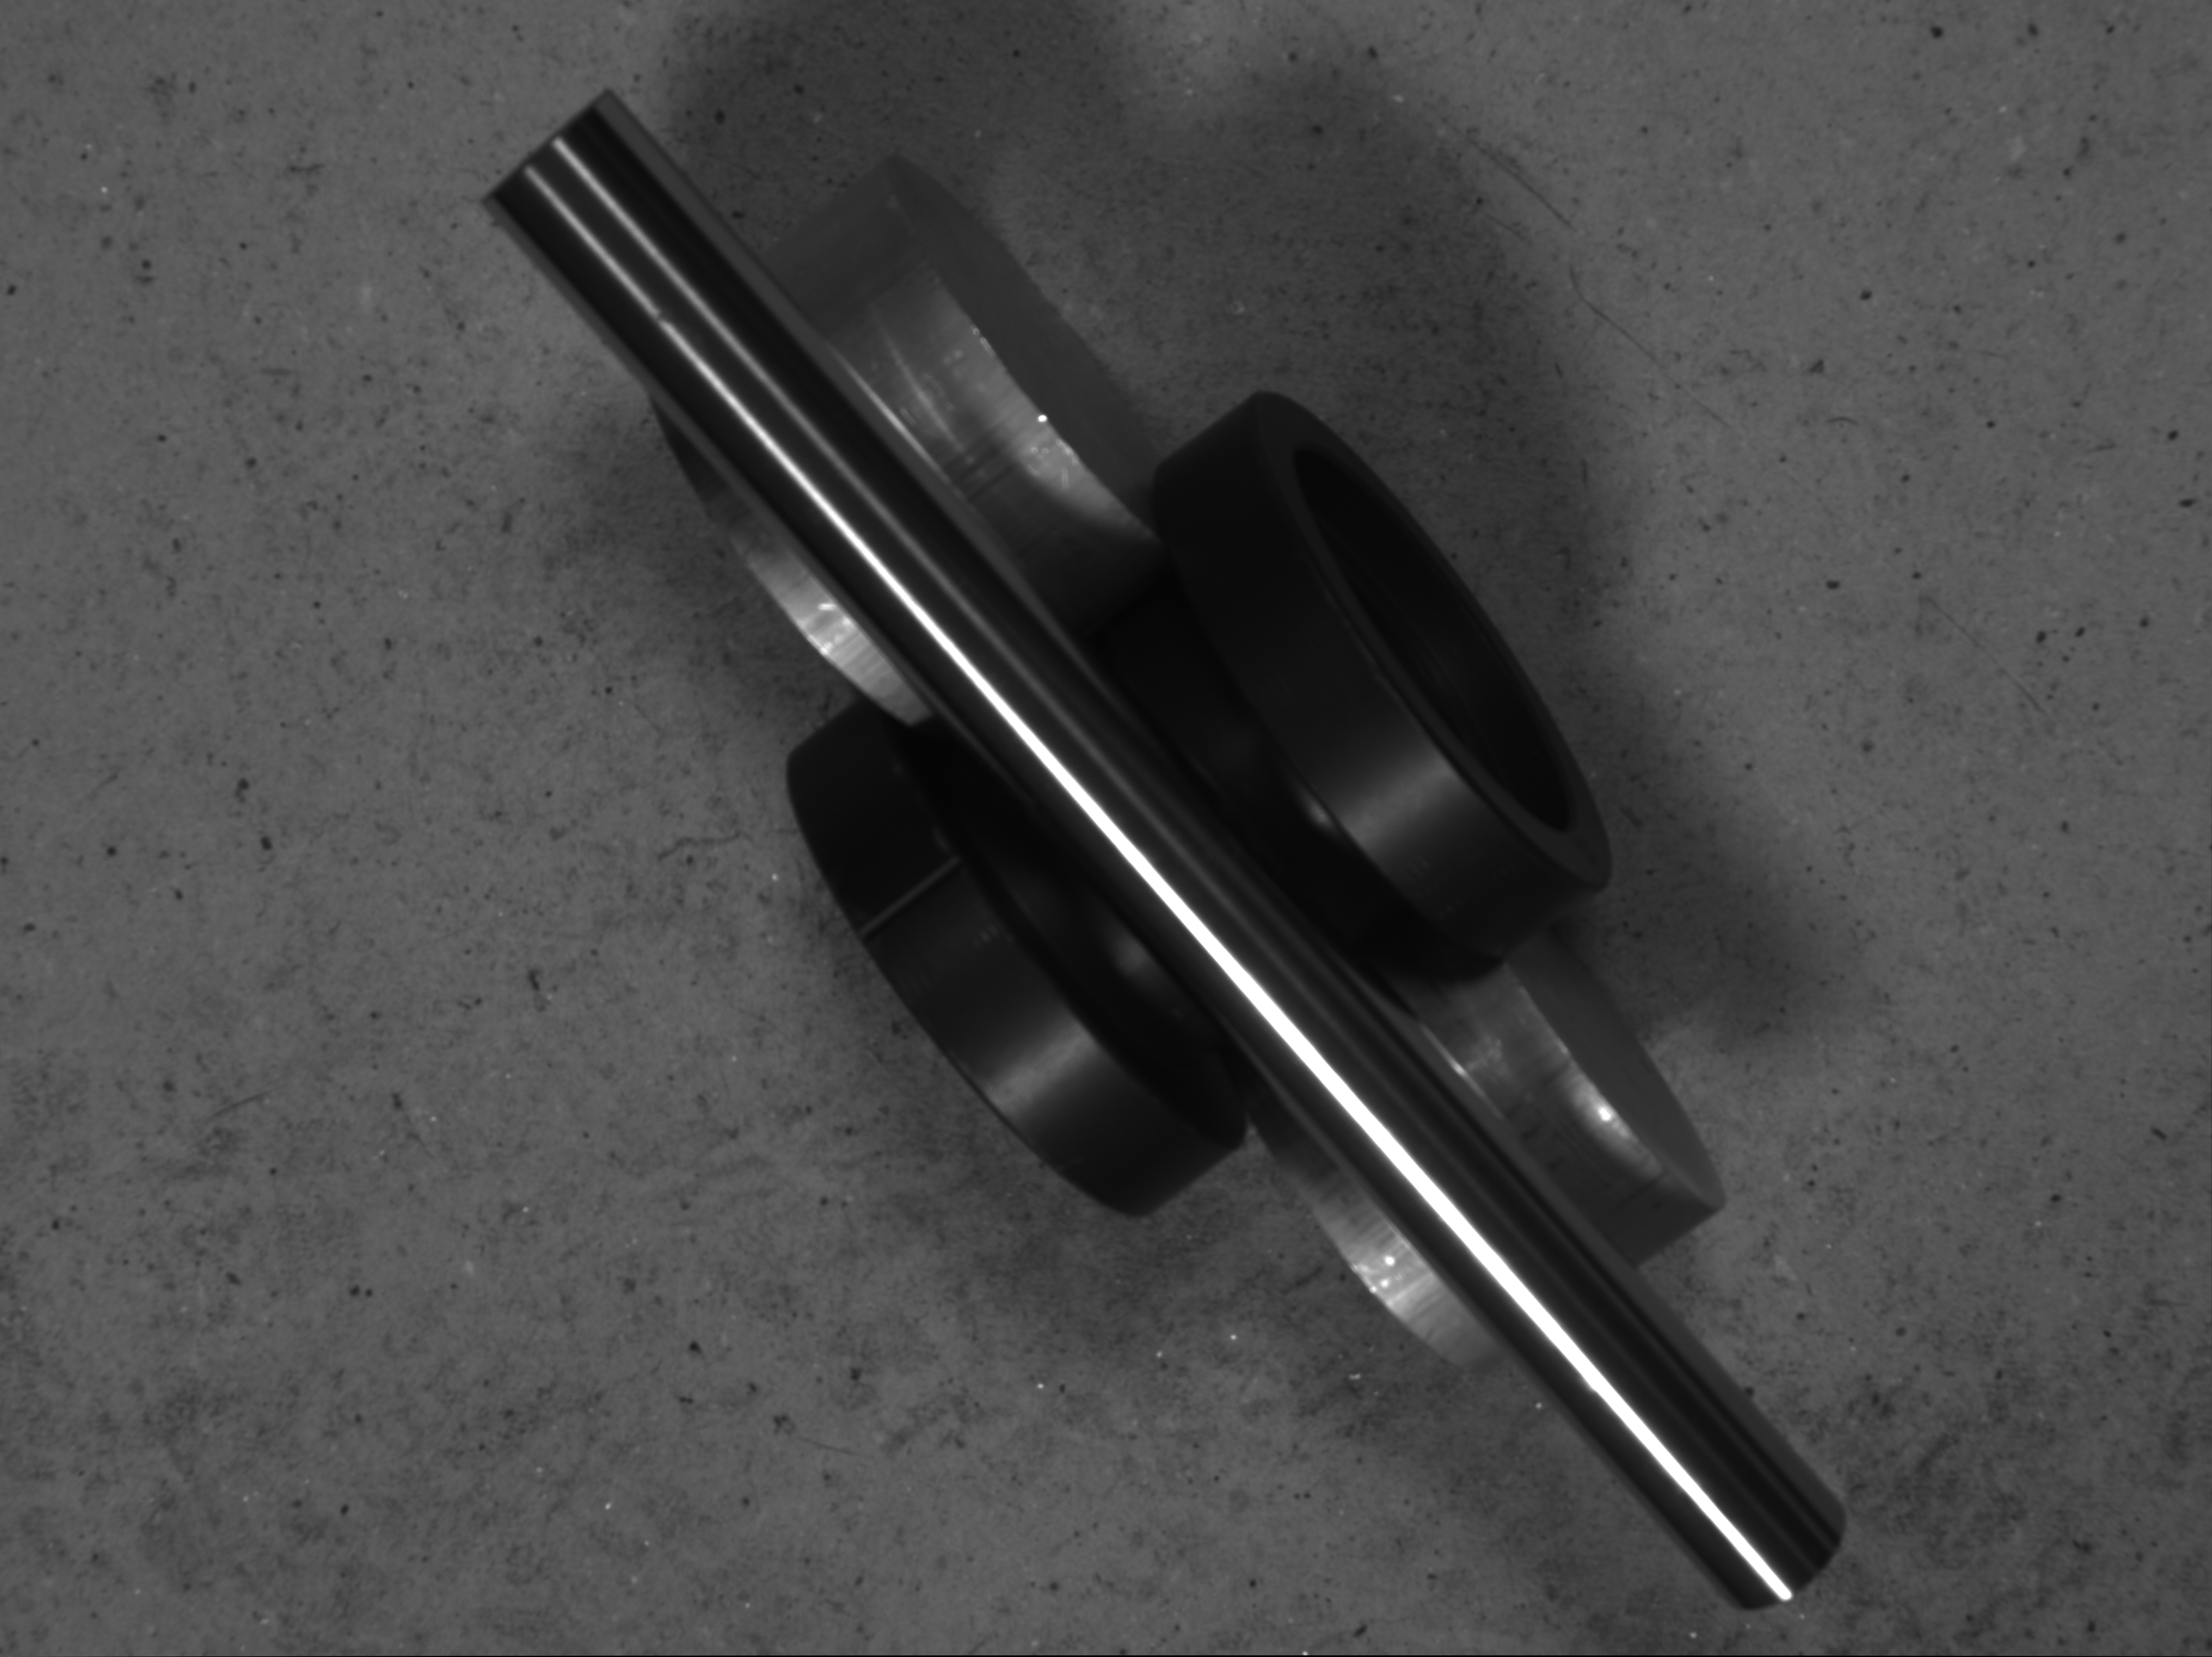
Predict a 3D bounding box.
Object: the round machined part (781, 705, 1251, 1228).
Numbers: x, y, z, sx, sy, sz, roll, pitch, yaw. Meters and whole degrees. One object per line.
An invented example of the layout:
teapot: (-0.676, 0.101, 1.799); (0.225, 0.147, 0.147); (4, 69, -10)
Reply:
round machined part: (-0.007, 0.015, 0.608); (0.042, 0.098, 0.098); (-38, 106, 8)

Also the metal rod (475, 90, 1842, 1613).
metal rod: (0.015, 0.011, 0.563); (0.025, 0.025, 0.300); (-38, 106, 12)

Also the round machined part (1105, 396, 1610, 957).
round machined part: (0.037, -0.019, 0.598); (0.042, 0.098, 0.098); (-36, 106, 16)

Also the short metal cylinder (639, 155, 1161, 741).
short metal cylinder: (-0.031, -0.061, 0.591); (0.050, 0.080, 0.080); (-37, 106, 12)

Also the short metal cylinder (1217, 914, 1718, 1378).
short metal cylinder: (0.061, 0.047, 0.632); (0.050, 0.080, 0.080); (-37, 106, 12)
